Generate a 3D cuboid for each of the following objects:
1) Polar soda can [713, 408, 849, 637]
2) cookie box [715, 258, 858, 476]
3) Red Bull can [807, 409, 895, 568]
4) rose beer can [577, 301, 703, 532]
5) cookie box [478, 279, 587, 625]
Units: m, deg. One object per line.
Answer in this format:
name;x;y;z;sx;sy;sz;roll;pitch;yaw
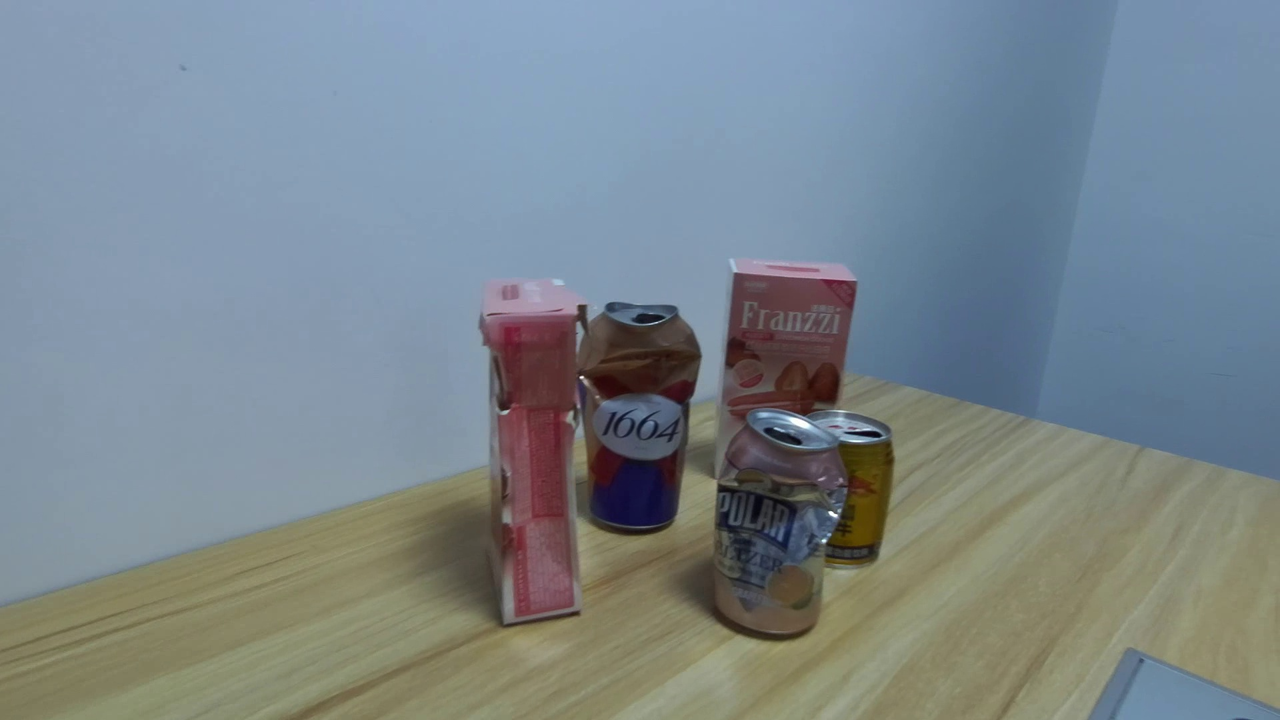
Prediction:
Polar soda can;0.083;0.095;0.411;0.070;0.121;0.067;14;14;33
cookie box;0.120;0.015;0.584;0.105;0.187;0.049;4;22;2
Red Bull can;0.139;0.089;0.493;0.069;0.092;0.069;3;15;0
rose beer can;-0.002;0.041;0.511;0.074;0.162;0.067;-10;20;-34
cookie box;-0.061;0.050;0.421;0.059;0.186;0.104;-3;17;-13
